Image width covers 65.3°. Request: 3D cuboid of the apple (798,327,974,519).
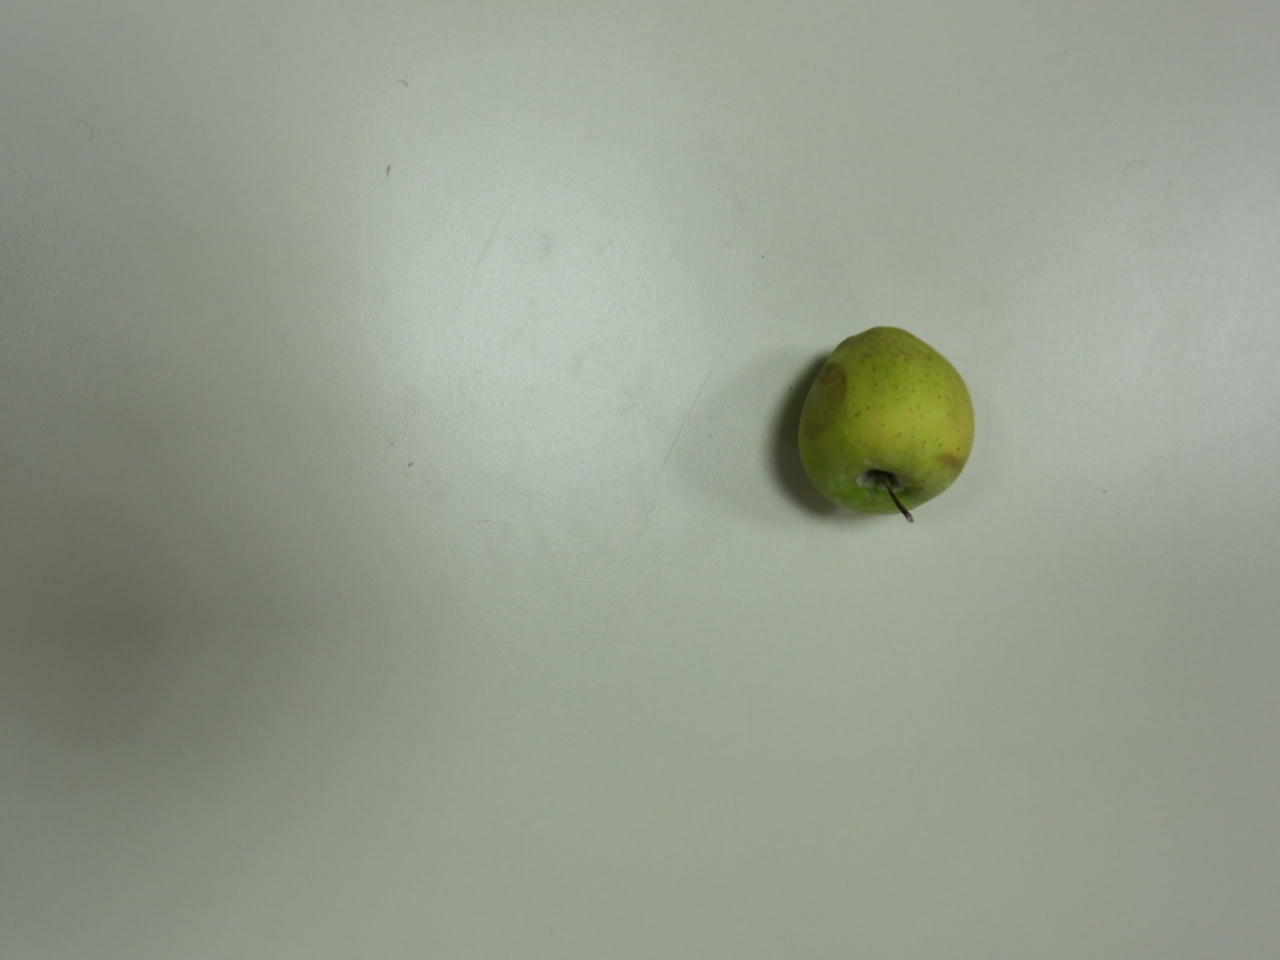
[{"bbox_3d":[0.104,-0.023,0.421,0.072,0.075,0.077,45,82,-8],"label":"apple"}]
